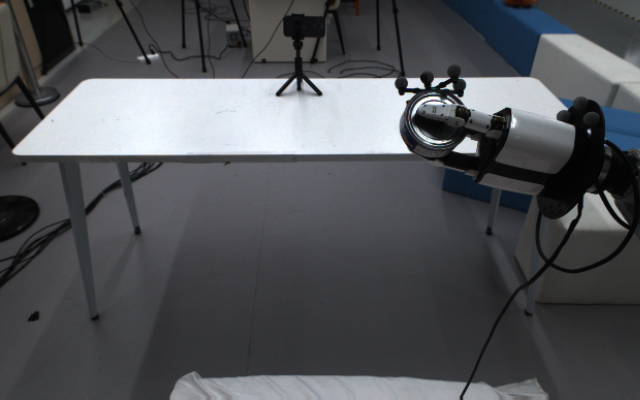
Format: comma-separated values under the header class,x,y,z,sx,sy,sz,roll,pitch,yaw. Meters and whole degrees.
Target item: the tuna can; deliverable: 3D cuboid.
class,x,y,z,sx,sy,sz,roll,pitch,yaw
tuna can,0.150,-0.101,0.639,0.085,0.034,0.085,1,73,-4
